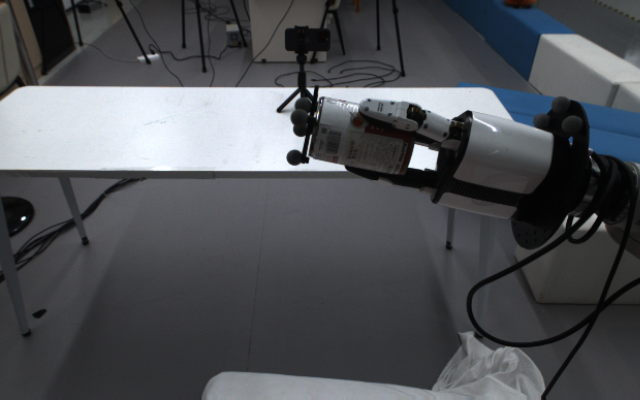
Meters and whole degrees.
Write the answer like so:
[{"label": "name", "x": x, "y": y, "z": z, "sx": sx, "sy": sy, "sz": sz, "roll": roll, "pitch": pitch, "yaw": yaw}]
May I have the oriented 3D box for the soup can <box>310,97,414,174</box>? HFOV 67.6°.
[{"label": "soup can", "x": 0.046, "y": -0.068, "z": 0.514, "sx": 0.101, "sy": 0.067, "sz": 0.067, "roll": 11, "pitch": 35, "yaw": -2}]
